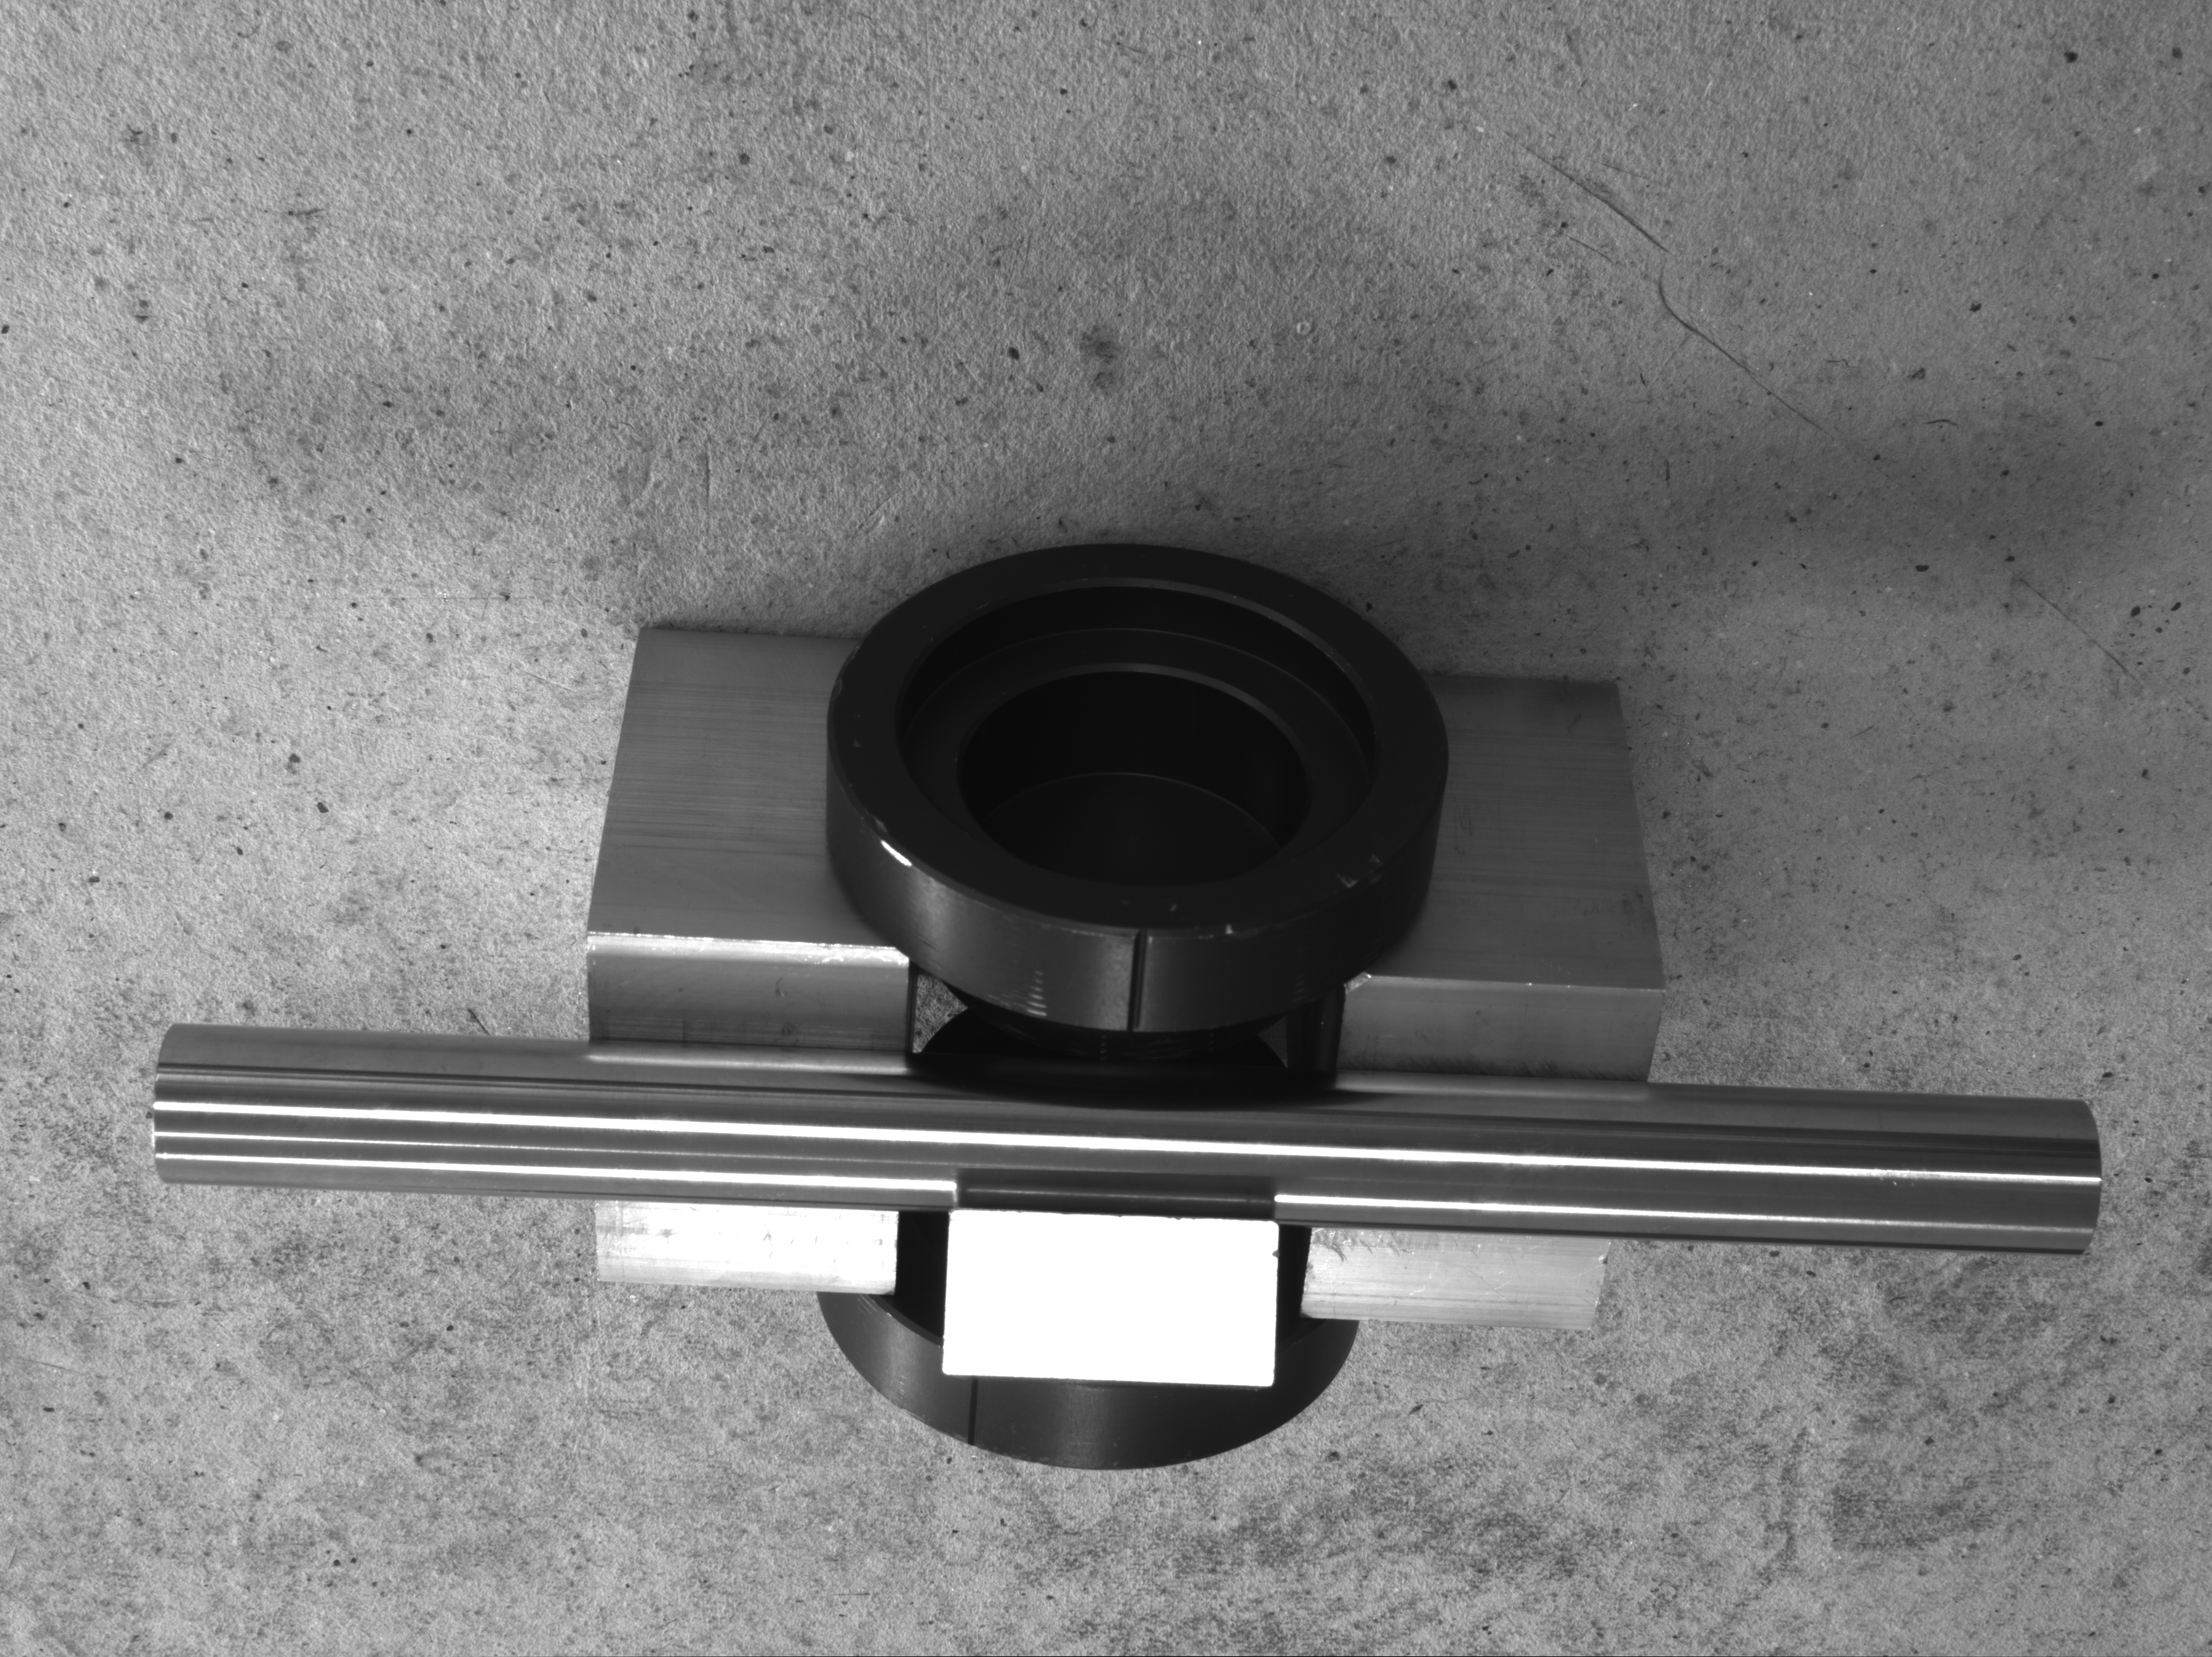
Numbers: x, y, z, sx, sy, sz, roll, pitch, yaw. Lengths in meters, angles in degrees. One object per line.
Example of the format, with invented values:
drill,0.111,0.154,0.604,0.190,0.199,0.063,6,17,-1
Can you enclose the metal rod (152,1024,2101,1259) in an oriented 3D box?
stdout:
metal rod,0.004,0.049,0.577,0.300,0.025,0.025,2,130,-2

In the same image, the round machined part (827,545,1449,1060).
round machined part,0.004,0.000,0.592,0.098,0.098,0.042,3,131,-2

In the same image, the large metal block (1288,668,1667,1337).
large metal block,0.060,0.029,0.629,0.050,0.080,0.080,3,130,-2

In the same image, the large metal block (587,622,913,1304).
large metal block,-0.058,0.022,0.623,0.050,0.080,0.080,3,130,-3

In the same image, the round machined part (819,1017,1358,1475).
round machined part,-0.002,0.064,0.646,0.098,0.098,0.042,4,125,-3

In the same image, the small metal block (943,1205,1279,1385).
small metal block,0.001,0.075,0.581,0.050,0.025,0.050,2,170,0
